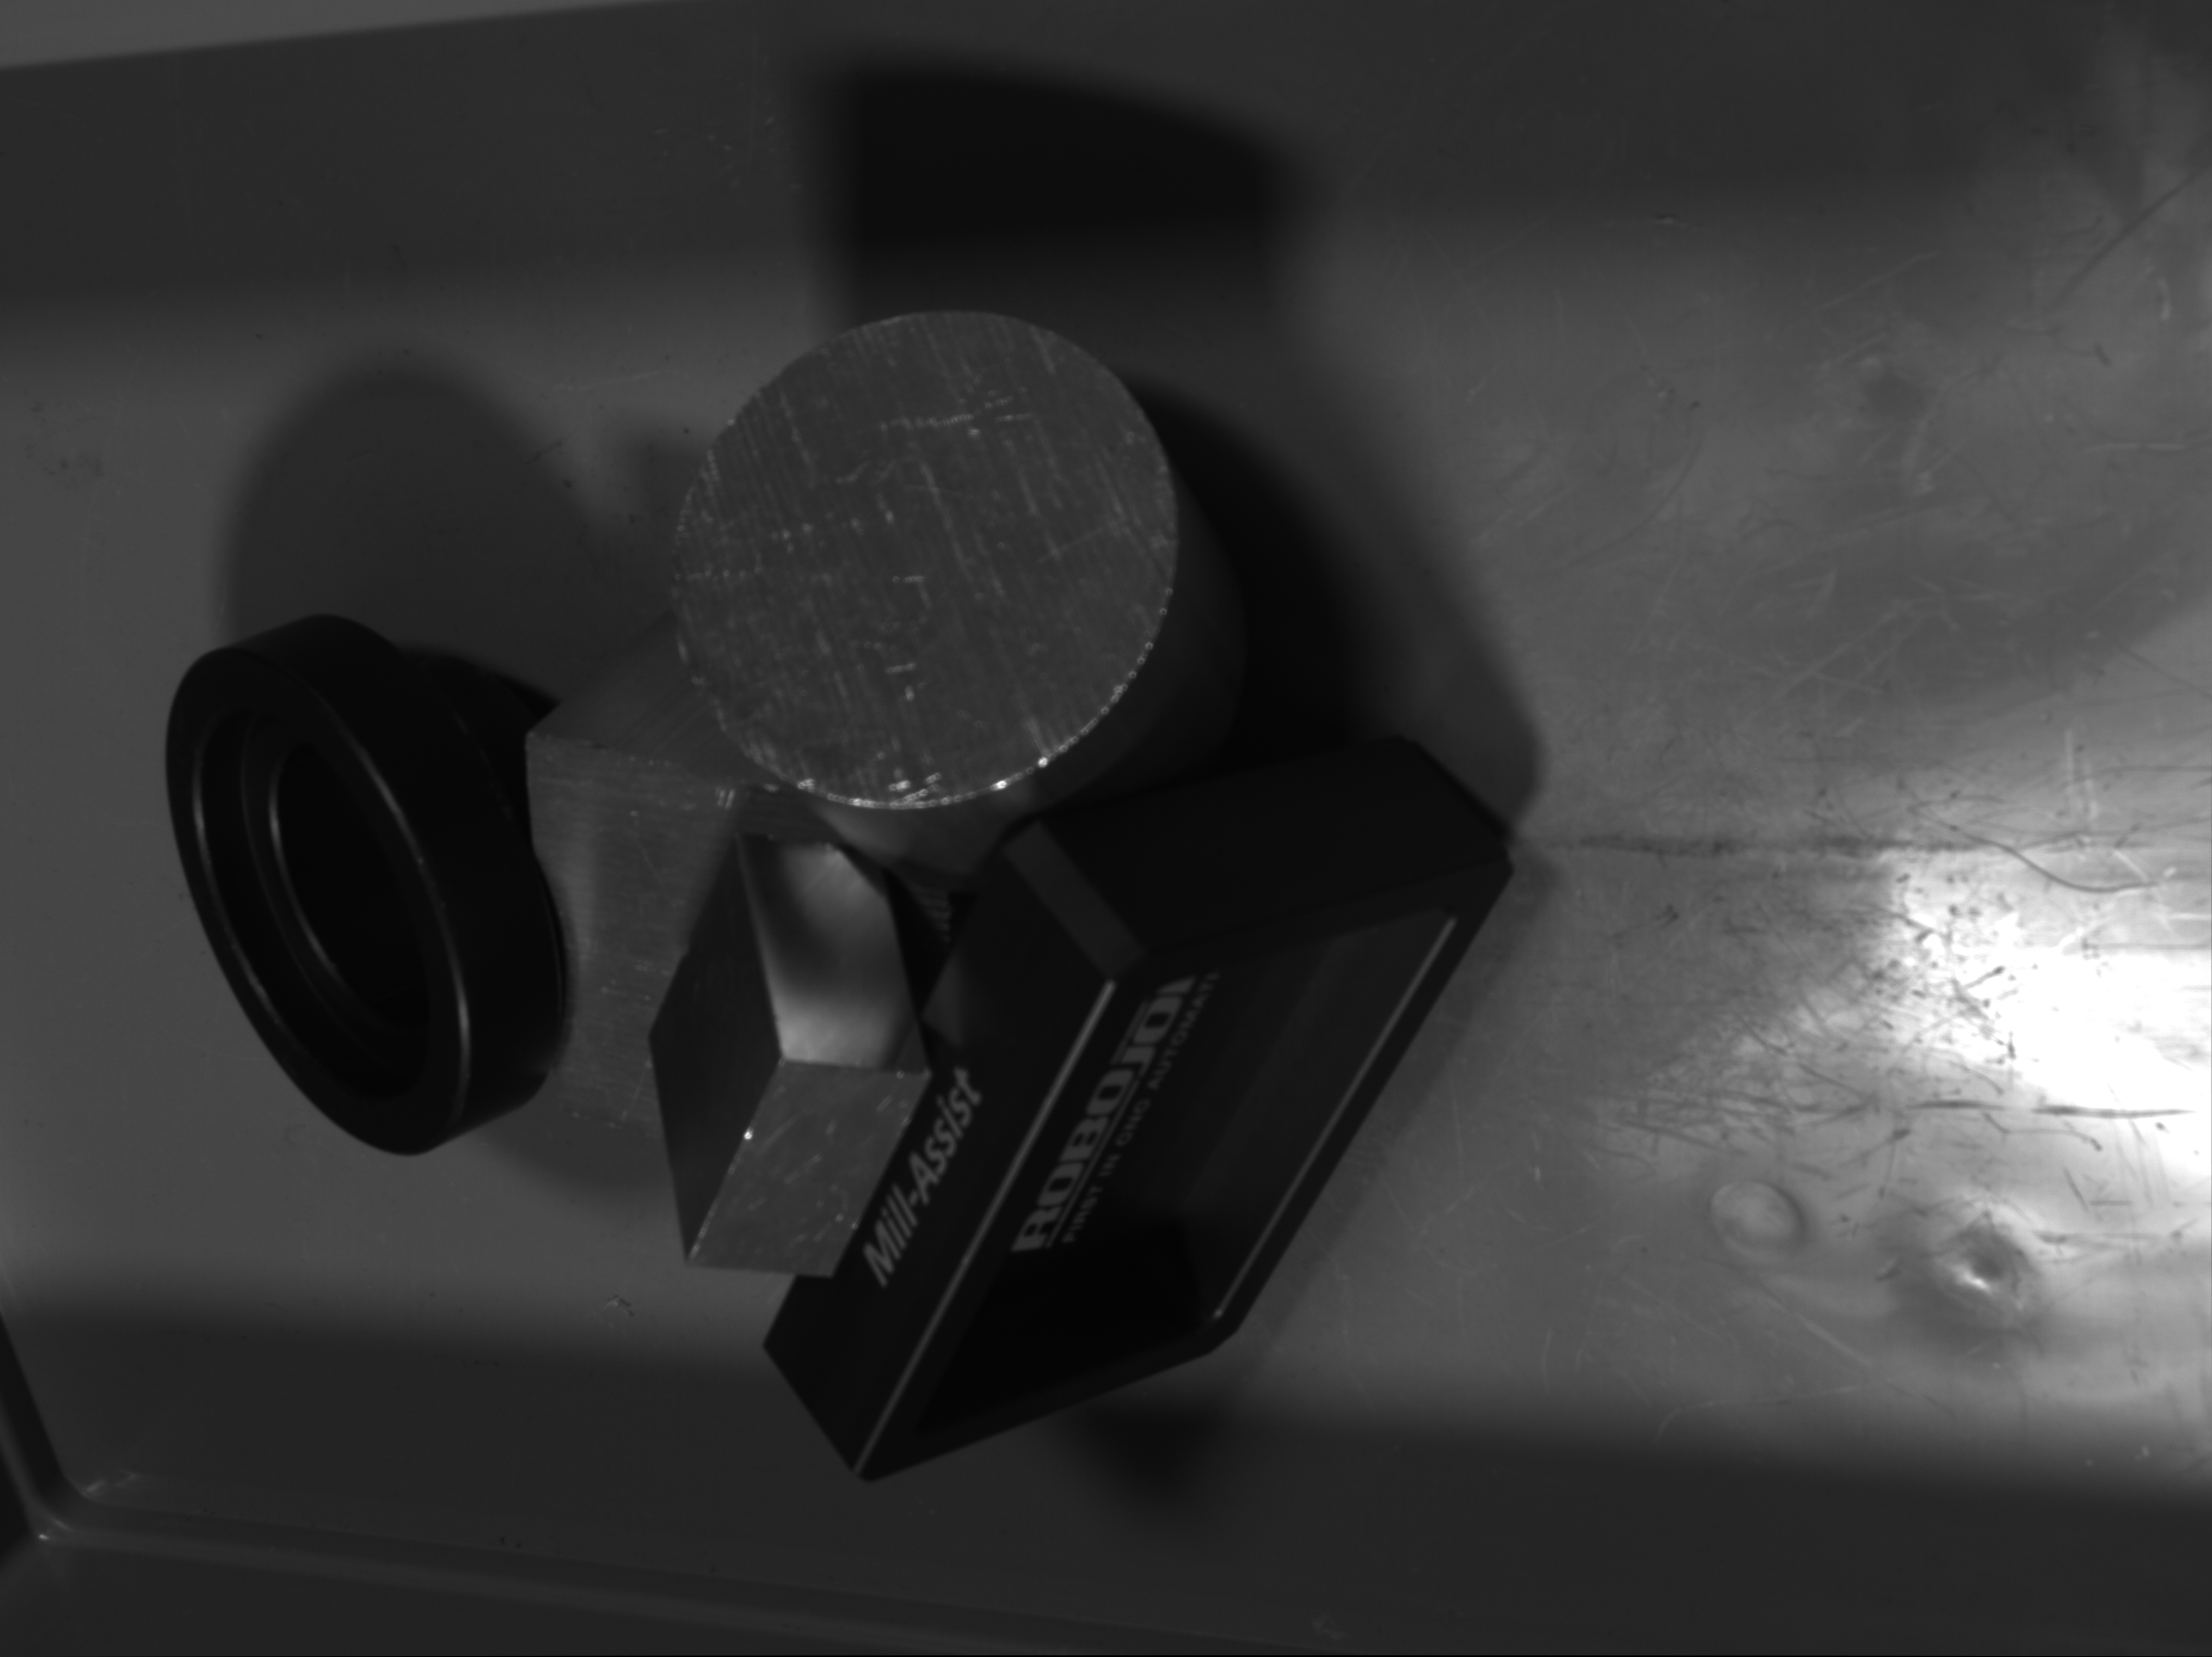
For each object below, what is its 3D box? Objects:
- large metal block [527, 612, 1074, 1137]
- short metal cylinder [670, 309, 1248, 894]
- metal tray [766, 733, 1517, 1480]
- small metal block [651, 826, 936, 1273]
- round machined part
[{"bbox_3d":[-0.052,0.014,0.649,0.080,0.050,0.080,14,124,19],"label":"large metal block"},{"bbox_3d":[-0.022,-0.035,0.577,0.080,0.080,0.050,15,168,18],"label":"short metal cylinder"},{"bbox_3d":[0.005,0.047,0.613,0.030,0.090,0.130,50,133,28],"label":"metal tray"},{"bbox_3d":[-0.052,0.036,0.596,0.025,0.050,0.050,8,132,-24],"label":"small metal block"},{"bbox_3d":[-0.128,0.007,0.672,0.098,0.042,0.098,29,131,39],"label":"round machined part"}]
